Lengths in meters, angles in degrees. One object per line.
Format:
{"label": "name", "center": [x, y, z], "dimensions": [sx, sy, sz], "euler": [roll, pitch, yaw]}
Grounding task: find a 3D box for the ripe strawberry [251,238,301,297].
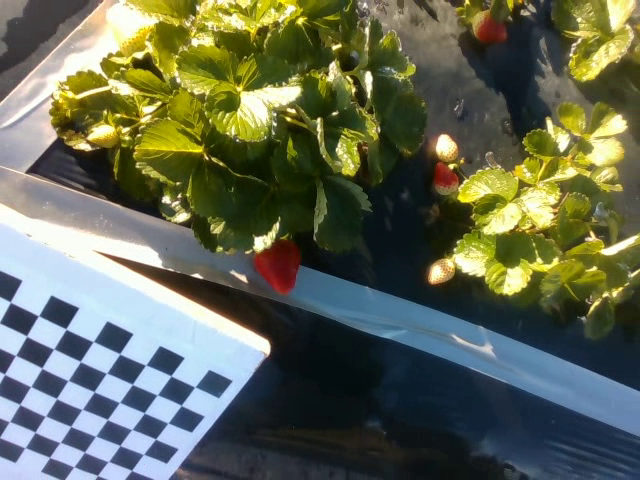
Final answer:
{"label": "ripe strawberry", "center": [-0.037, 0.023, 0.525], "dimensions": [0.045, 0.063, 0.049], "euler": [-28, -37, 14]}
